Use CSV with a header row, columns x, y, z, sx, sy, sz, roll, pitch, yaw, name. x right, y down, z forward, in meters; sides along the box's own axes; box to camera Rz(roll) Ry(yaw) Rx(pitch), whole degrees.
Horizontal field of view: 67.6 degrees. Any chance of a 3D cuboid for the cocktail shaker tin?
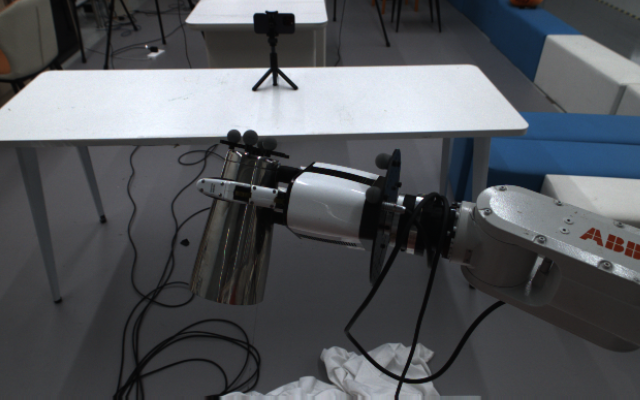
x,y,z,sx,sy,sz,roll,pitch,yaw,name
-0.095,0.029,0.589,0.093,0.170,0.093,12,3,-1,cocktail shaker tin
